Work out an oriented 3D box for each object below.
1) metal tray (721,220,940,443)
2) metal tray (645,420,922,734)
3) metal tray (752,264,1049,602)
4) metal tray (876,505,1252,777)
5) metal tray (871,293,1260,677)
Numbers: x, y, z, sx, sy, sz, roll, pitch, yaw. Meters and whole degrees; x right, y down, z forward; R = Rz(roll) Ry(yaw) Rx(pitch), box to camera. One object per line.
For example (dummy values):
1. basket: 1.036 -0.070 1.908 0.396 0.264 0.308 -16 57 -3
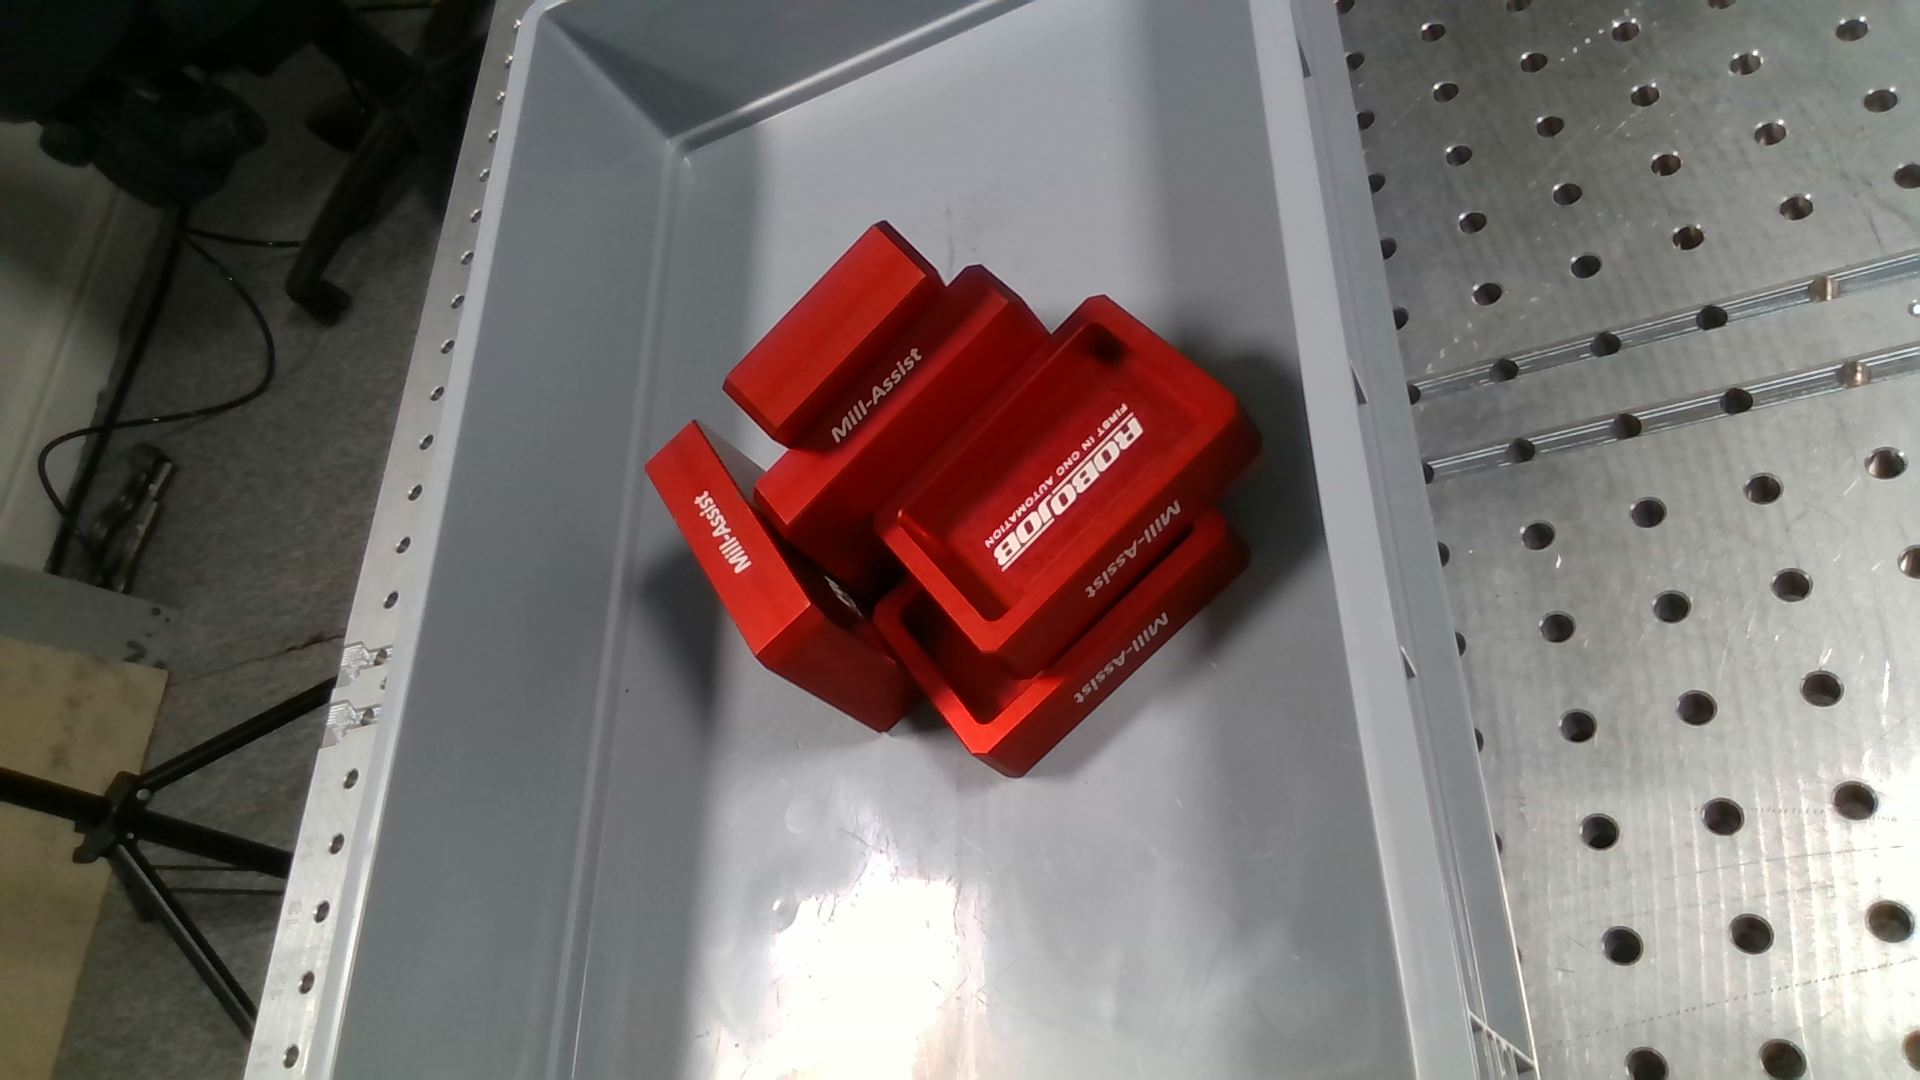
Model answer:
1. metal tray: -0.042 -0.076 0.584 0.090 0.130 0.030 -45 81 3
2. metal tray: -0.073 0.015 0.579 0.030 0.090 0.130 -42 51 6
3. metal tray: -0.011 -0.038 0.568 0.130 0.090 0.030 -45 51 3
4. metal tray: 0.039 0.019 0.548 0.130 0.030 0.090 -42 50 4
5. metal tray: 0.038 -0.023 0.530 0.130 0.030 0.090 -45 51 3
